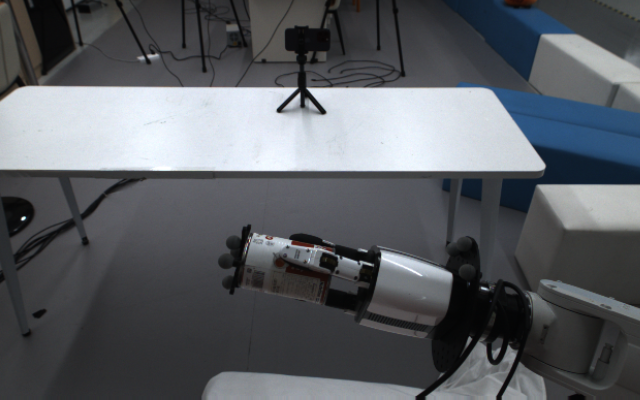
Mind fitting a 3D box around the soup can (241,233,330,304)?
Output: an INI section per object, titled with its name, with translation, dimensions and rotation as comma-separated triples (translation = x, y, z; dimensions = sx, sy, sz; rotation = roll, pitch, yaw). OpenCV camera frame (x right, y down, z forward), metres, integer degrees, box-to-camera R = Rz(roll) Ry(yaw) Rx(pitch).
[soup can]
translation = -0.035, 0.080, 0.568
dimensions = 0.101, 0.067, 0.067
rotation = 11, 35, -2
